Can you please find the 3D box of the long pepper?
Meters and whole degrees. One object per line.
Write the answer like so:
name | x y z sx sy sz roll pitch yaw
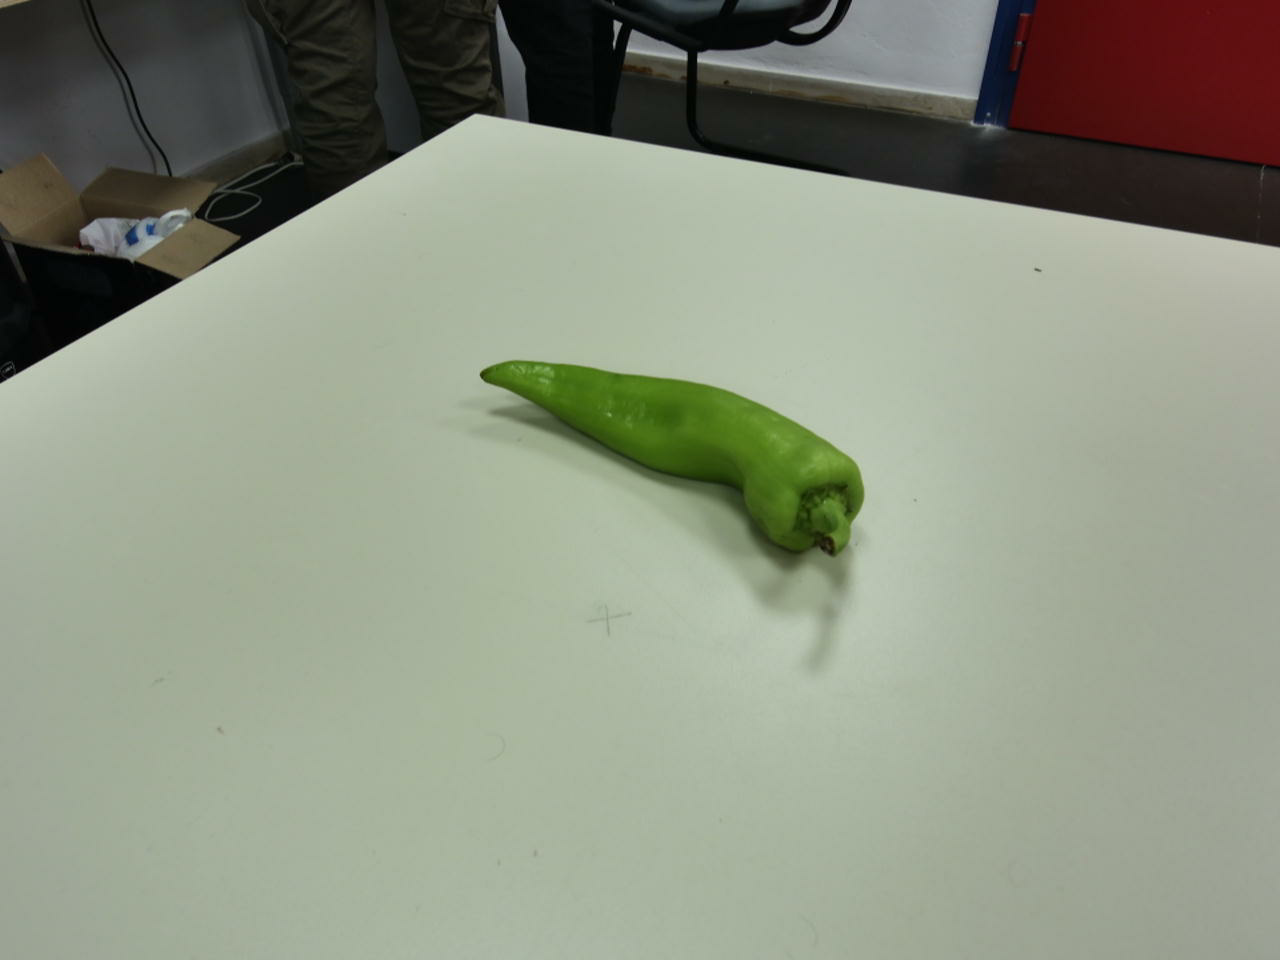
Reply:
long pepper | 0.018 -0.022 0.448 0.205 0.045 0.065 30 46 33
